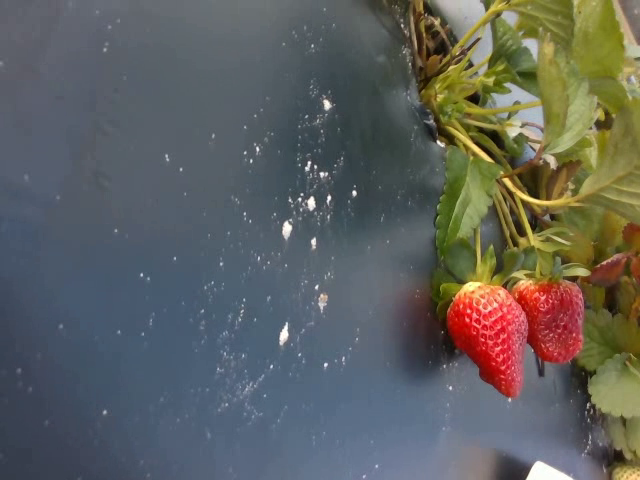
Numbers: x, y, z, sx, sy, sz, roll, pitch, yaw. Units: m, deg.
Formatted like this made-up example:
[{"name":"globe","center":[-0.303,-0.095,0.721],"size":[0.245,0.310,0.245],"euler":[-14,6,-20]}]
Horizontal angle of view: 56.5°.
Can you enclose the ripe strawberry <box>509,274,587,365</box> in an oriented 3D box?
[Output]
[{"name":"ripe strawberry","center":[0.132,0.044,0.331],"size":[0.042,0.053,0.034],"euler":[15,-32,-37]}]

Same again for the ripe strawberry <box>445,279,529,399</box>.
[{"name":"ripe strawberry","center":[0.085,0.048,0.284],"size":[0.050,0.061,0.045],"euler":[22,-40,-37]}]
